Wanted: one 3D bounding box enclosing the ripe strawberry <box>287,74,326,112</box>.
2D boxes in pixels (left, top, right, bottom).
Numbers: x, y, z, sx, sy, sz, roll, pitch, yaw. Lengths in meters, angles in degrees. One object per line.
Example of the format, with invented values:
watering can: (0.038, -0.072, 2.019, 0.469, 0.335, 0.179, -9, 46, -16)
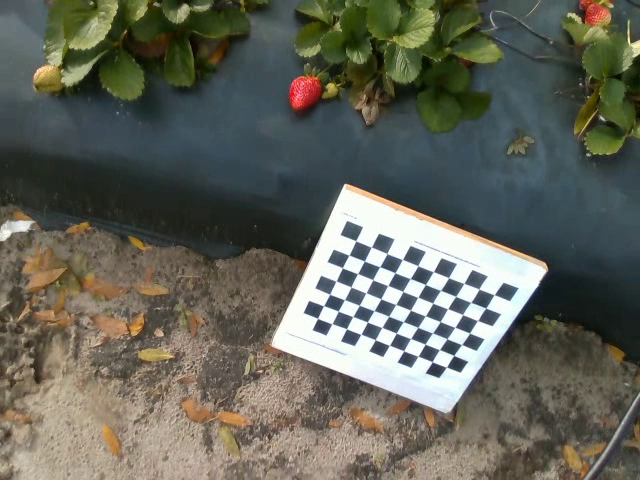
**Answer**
ripe strawberry: (-0.022, -0.188, 0.735, 0.045, 0.058, 0.051, 25, -24, -6)
